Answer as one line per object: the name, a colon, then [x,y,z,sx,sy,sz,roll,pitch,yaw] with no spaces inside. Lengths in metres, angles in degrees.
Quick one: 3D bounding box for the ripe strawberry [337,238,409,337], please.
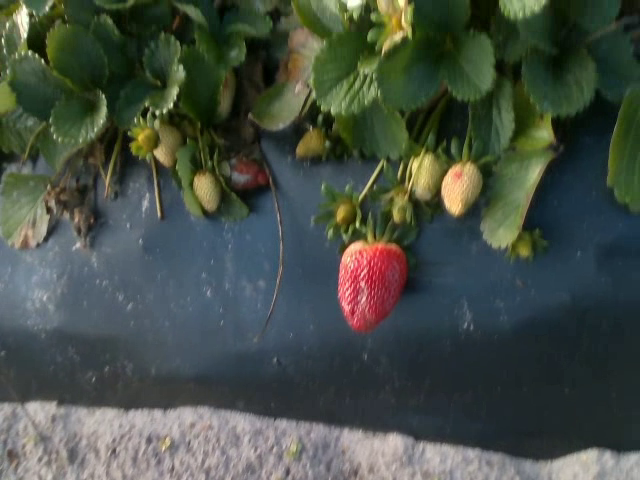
ripe strawberry: [0.034,0.030,0.406,0.052,0.068,0.045,1,-30,16]
